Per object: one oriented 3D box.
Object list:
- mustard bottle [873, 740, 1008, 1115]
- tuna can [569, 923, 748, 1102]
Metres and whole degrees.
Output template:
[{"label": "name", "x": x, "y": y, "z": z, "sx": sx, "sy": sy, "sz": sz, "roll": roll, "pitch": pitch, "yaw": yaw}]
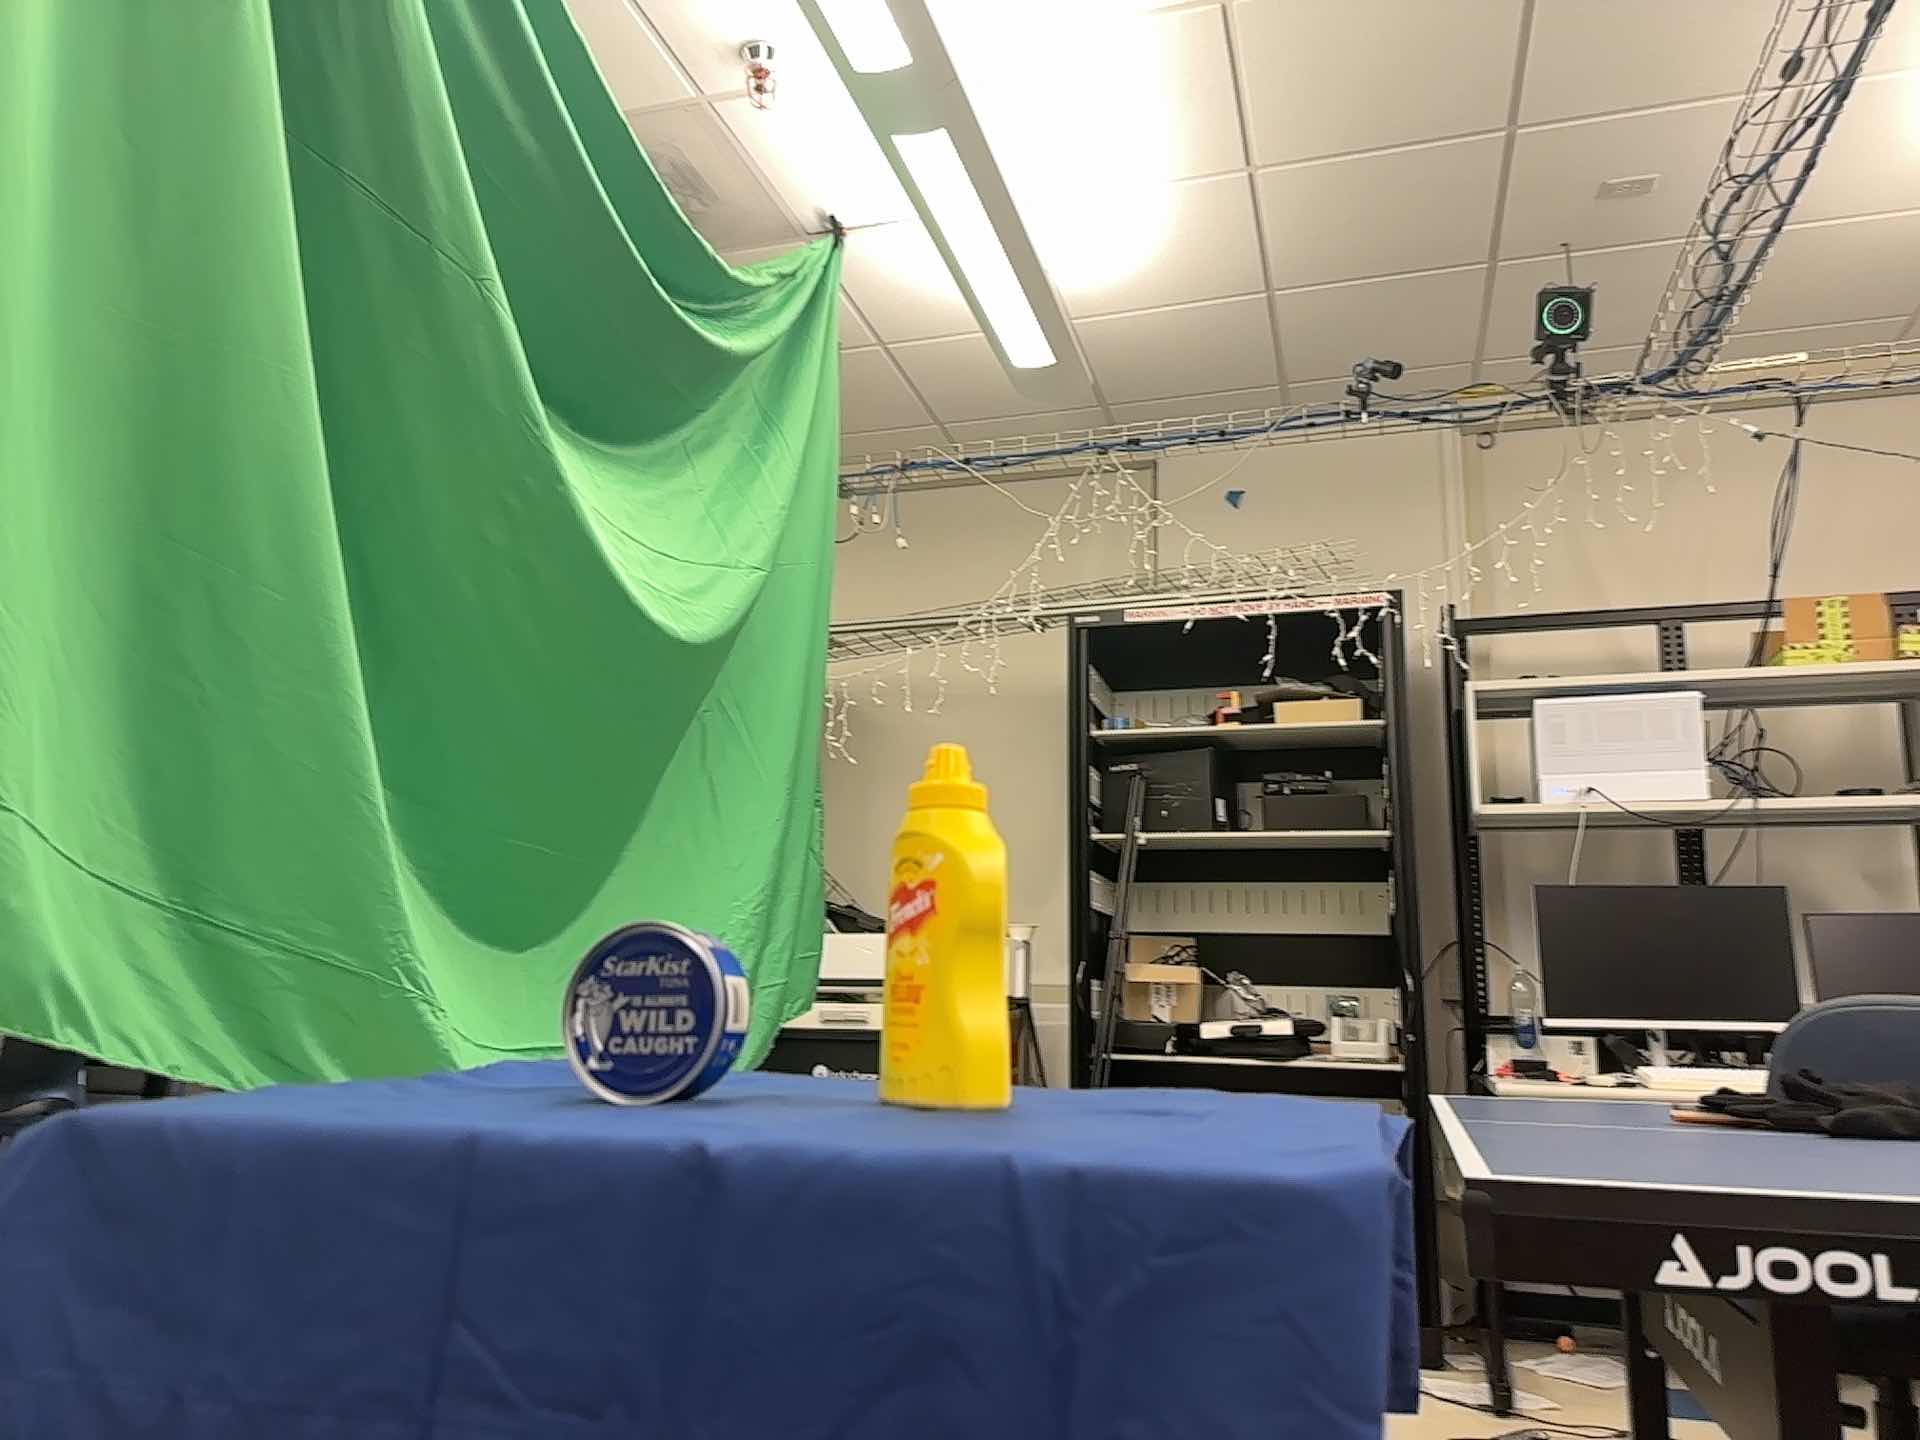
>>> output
[{"label": "mustard bottle", "x": -0.009, "y": 0.100, "z": 0.675, "sx": 0.054, "sy": 0.184, "sz": 0.092, "roll": 6, "pitch": -13, "yaw": -22}, {"label": "tuna can", "x": -0.148, "y": 0.144, "z": 0.663, "sx": 0.083, "sy": 0.083, "sz": 0.034, "roll": -3, "pitch": -13, "yaw": 20}]
